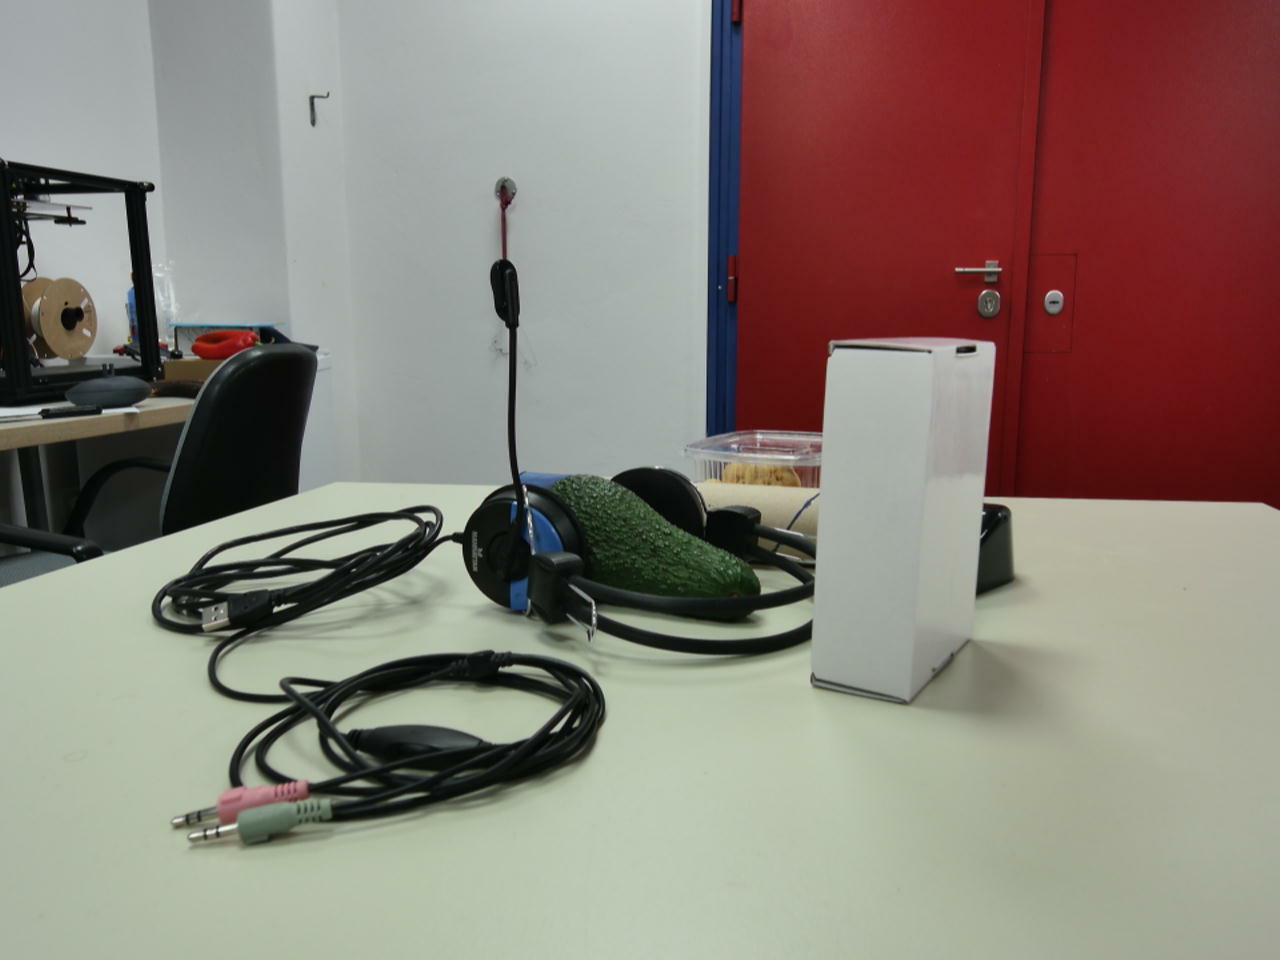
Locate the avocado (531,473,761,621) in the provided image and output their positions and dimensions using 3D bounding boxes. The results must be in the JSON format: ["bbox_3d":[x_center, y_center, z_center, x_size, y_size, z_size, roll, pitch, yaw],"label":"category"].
[{"bbox_3d":[0.003,0.032,0.525,0.141,0.067,0.063,3,7,27],"label":"avocado"}]
